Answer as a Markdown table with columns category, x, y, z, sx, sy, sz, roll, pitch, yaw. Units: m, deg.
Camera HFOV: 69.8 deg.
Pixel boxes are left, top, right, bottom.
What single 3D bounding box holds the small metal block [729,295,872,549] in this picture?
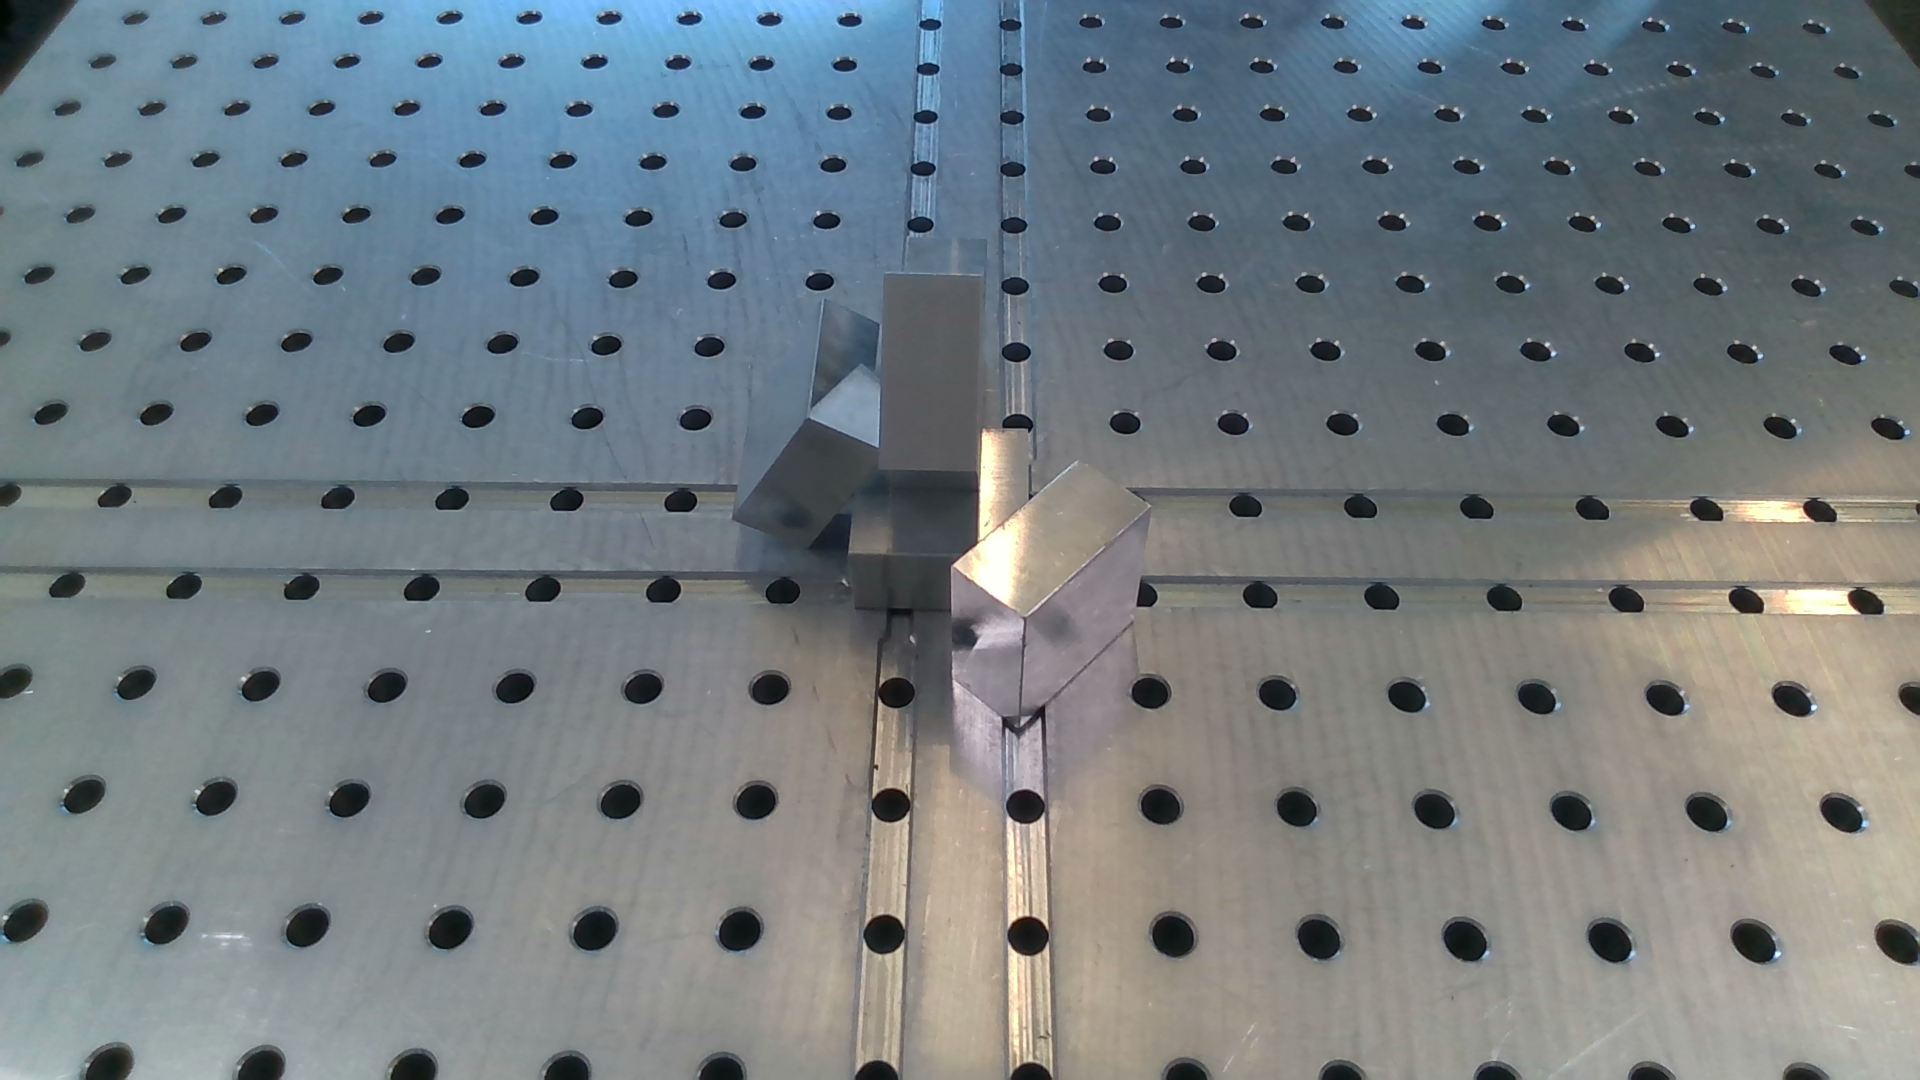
| category | x | y | z | sx | sy | sz | roll | pitch | yaw |
| --- | --- | --- | --- | --- | --- | --- | --- | --- | --- |
| small metal block | -0.043 | -0.034 | 0.406 | 0.025 | 0.050 | 0.050 | 22 | 46 | -23 |

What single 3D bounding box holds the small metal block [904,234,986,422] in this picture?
| category | x | y | z | sx | sy | sz | roll | pitch | yaw |
| --- | --- | --- | --- | --- | --- | --- | --- | --- | --- |
| small metal block | -0.005 | -0.060 | 0.430 | 0.025 | 0.050 | 0.050 | 1 | 49 | 1 |

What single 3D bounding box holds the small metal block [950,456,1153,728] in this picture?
| category | x | y | z | sx | sy | sz | roll | pitch | yaw |
| --- | --- | --- | --- | --- | --- | --- | --- | --- | --- |
| small metal block | 0.024 | 0.014 | 0.369 | 0.025 | 0.050 | 0.050 | 36 | 59 | 25 |

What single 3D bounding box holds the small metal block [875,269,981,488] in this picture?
| category | x | y | z | sx | sy | sz | roll | pitch | yaw |
| --- | --- | --- | --- | --- | --- | --- | --- | --- | --- |
| small metal block | -0.007 | -0.041 | 0.369 | 0.025 | 0.050 | 0.050 | 2 | 87 | 2 |

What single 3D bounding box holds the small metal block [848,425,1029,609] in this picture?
| category | x | y | z | sx | sy | sz | roll | pitch | yaw |
| --- | --- | --- | --- | --- | --- | --- | --- | --- | --- |
| small metal block | -0.005 | -0.007 | 0.403 | 0.050 | 0.025 | 0.050 | 1 | 51 | 1 |
